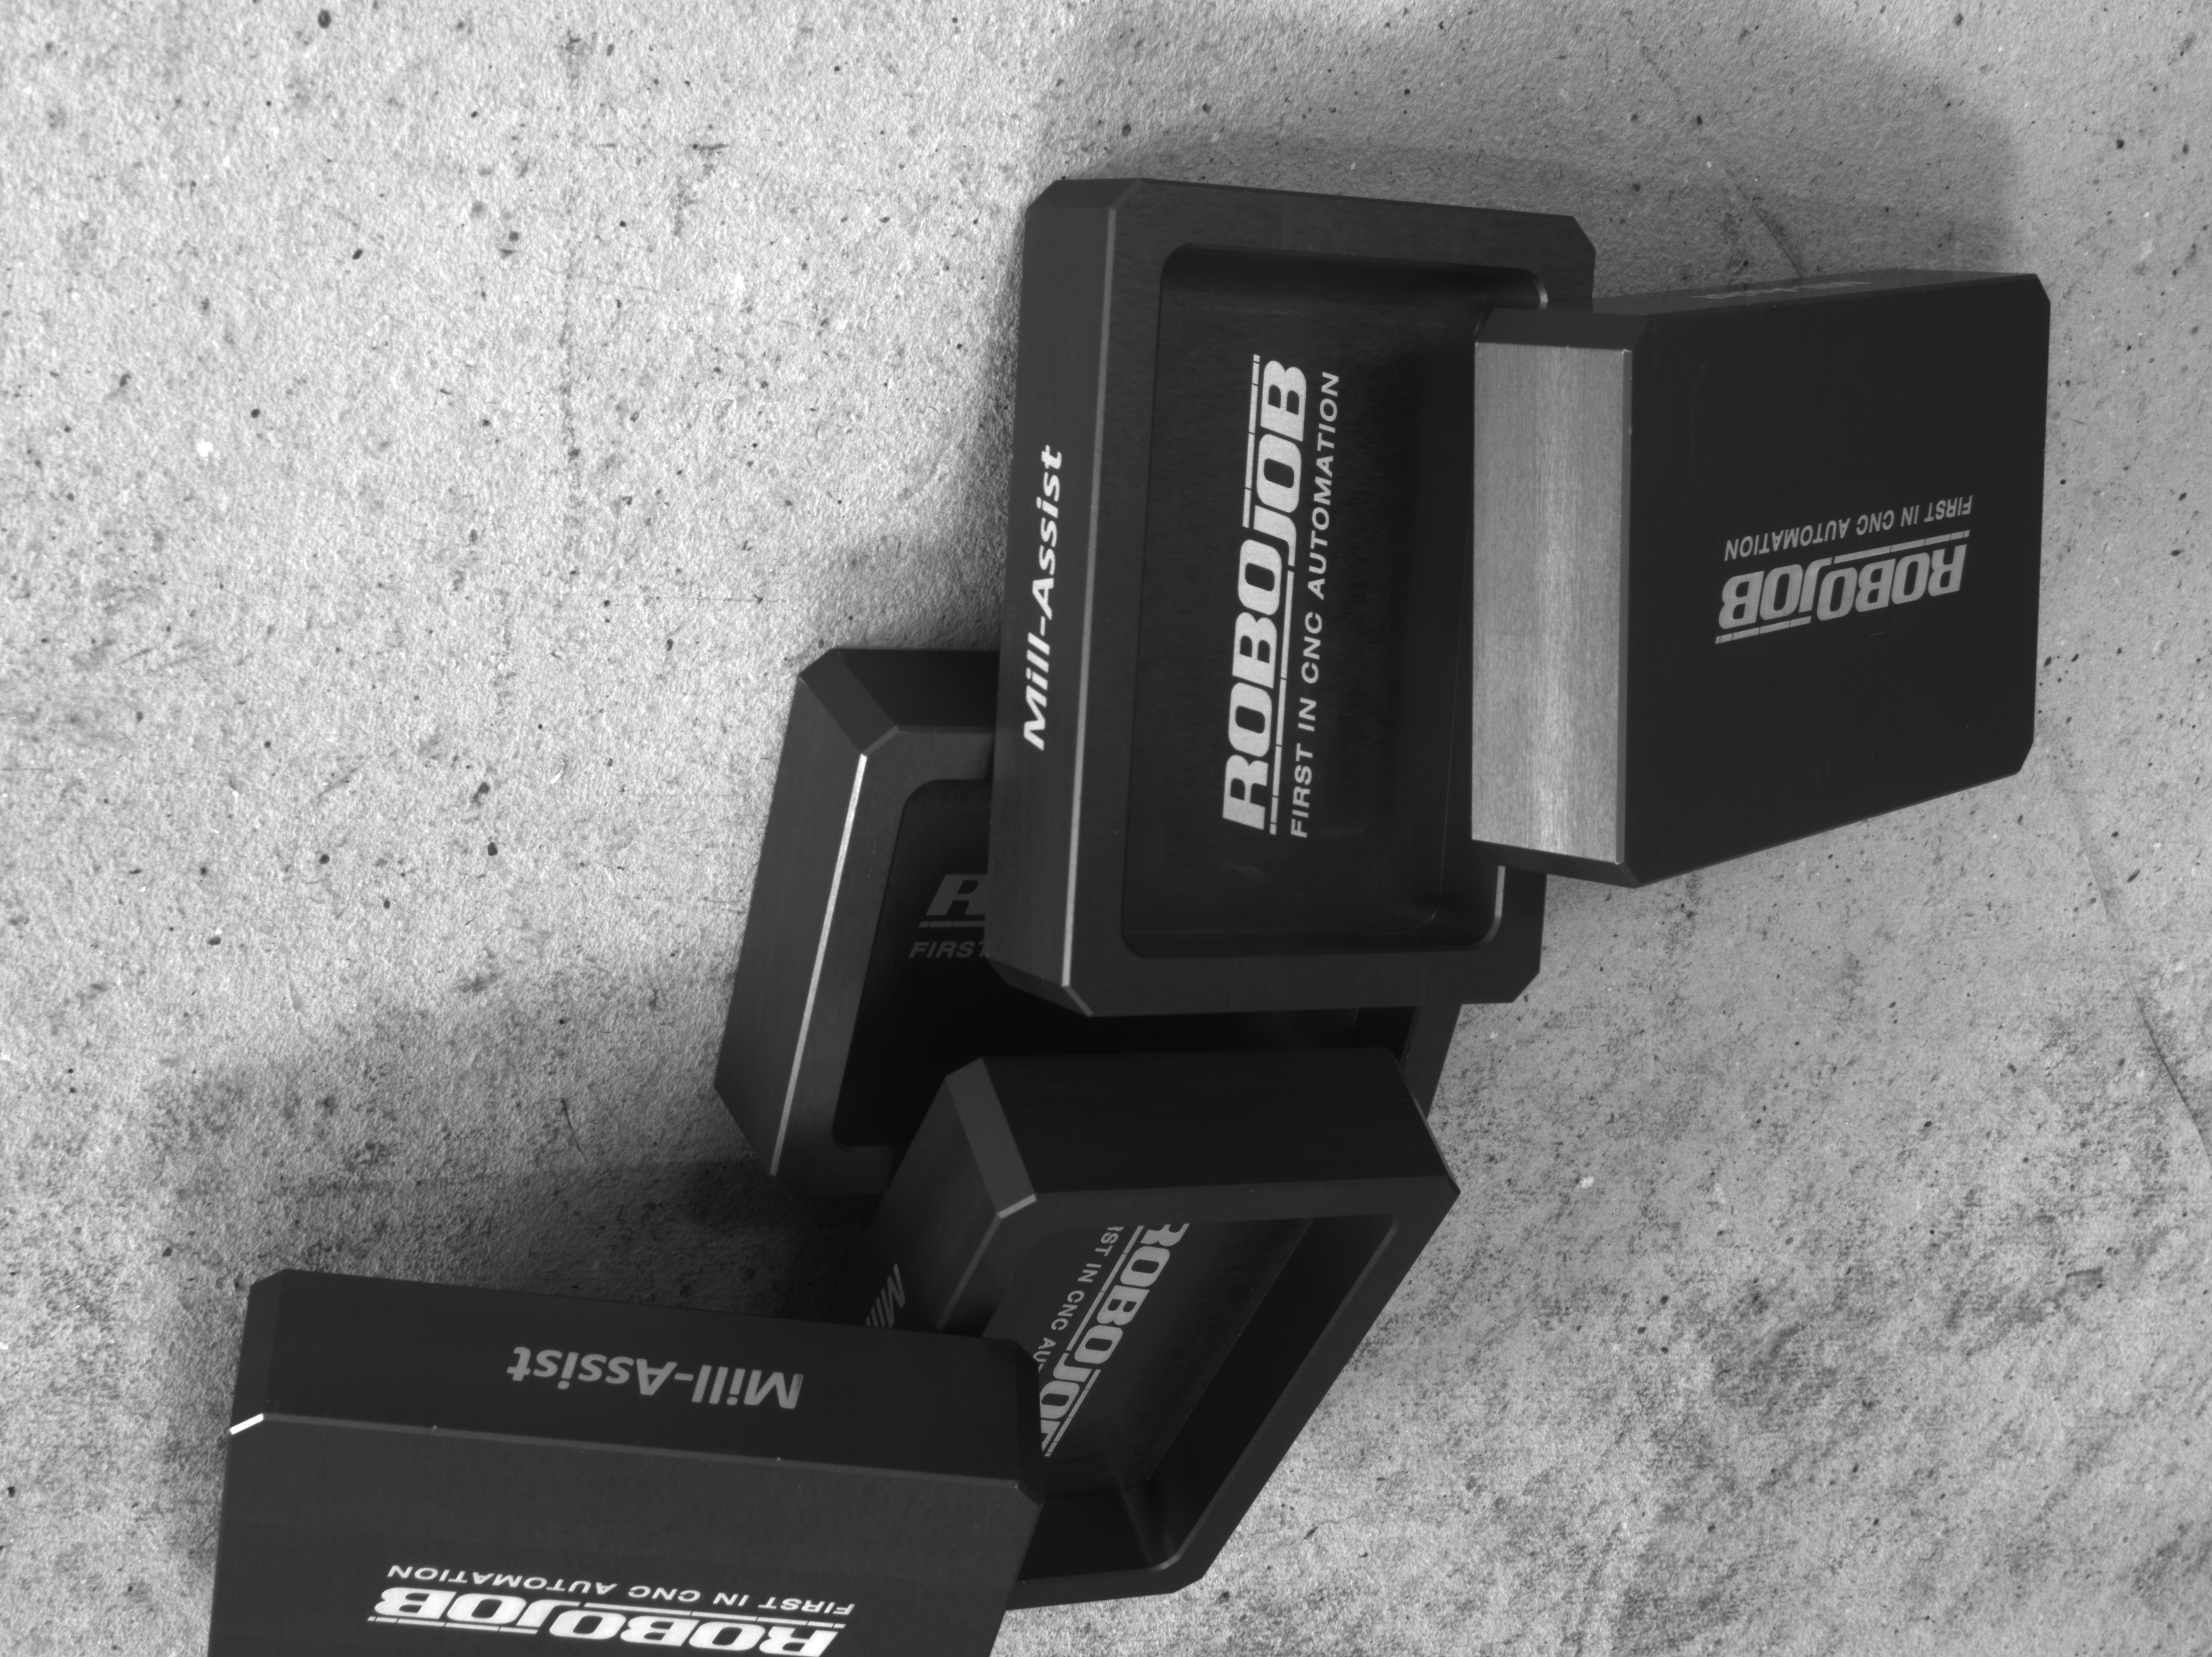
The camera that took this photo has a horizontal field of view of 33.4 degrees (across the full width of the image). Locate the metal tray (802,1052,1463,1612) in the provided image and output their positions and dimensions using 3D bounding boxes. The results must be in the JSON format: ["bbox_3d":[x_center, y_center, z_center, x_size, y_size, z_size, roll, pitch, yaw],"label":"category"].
[{"bbox_3d":[-0.004,0.094,0.663,0.090,0.030,0.130,1,136,-28],"label":"metal tray"}]

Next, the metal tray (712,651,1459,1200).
[{"bbox_3d":[0.003,0.017,0.647,0.130,0.030,0.090,0,118,-28],"label":"metal tray"}]

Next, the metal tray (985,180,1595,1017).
[{"bbox_3d":[0.030,-0.037,0.602,0.090,0.030,0.130,-1,99,-28],"label":"metal tray"}]

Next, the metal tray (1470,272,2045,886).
[{"bbox_3d":[0.113,-0.046,0.626,0.130,0.030,0.090,-13,107,-46],"label":"metal tray"}]

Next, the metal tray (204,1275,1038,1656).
[{"bbox_3d":[-0.084,0.120,0.625,0.130,0.030,0.090,6,133,-11],"label":"metal tray"}]
